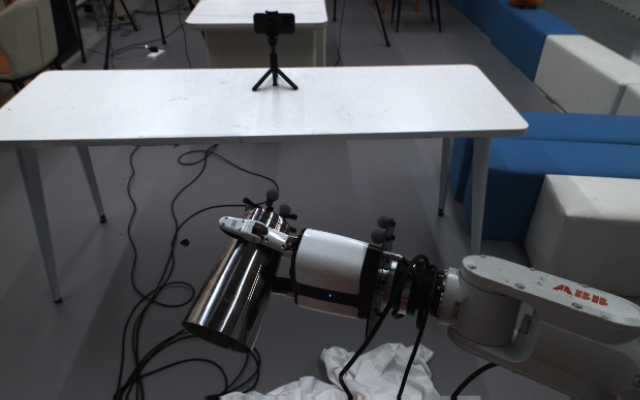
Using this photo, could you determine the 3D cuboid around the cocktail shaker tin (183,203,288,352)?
[{"bbox_3d":[-0.097,0.096,0.625,0.093,0.093,0.170,13,60,15],"label":"cocktail shaker tin"}]
